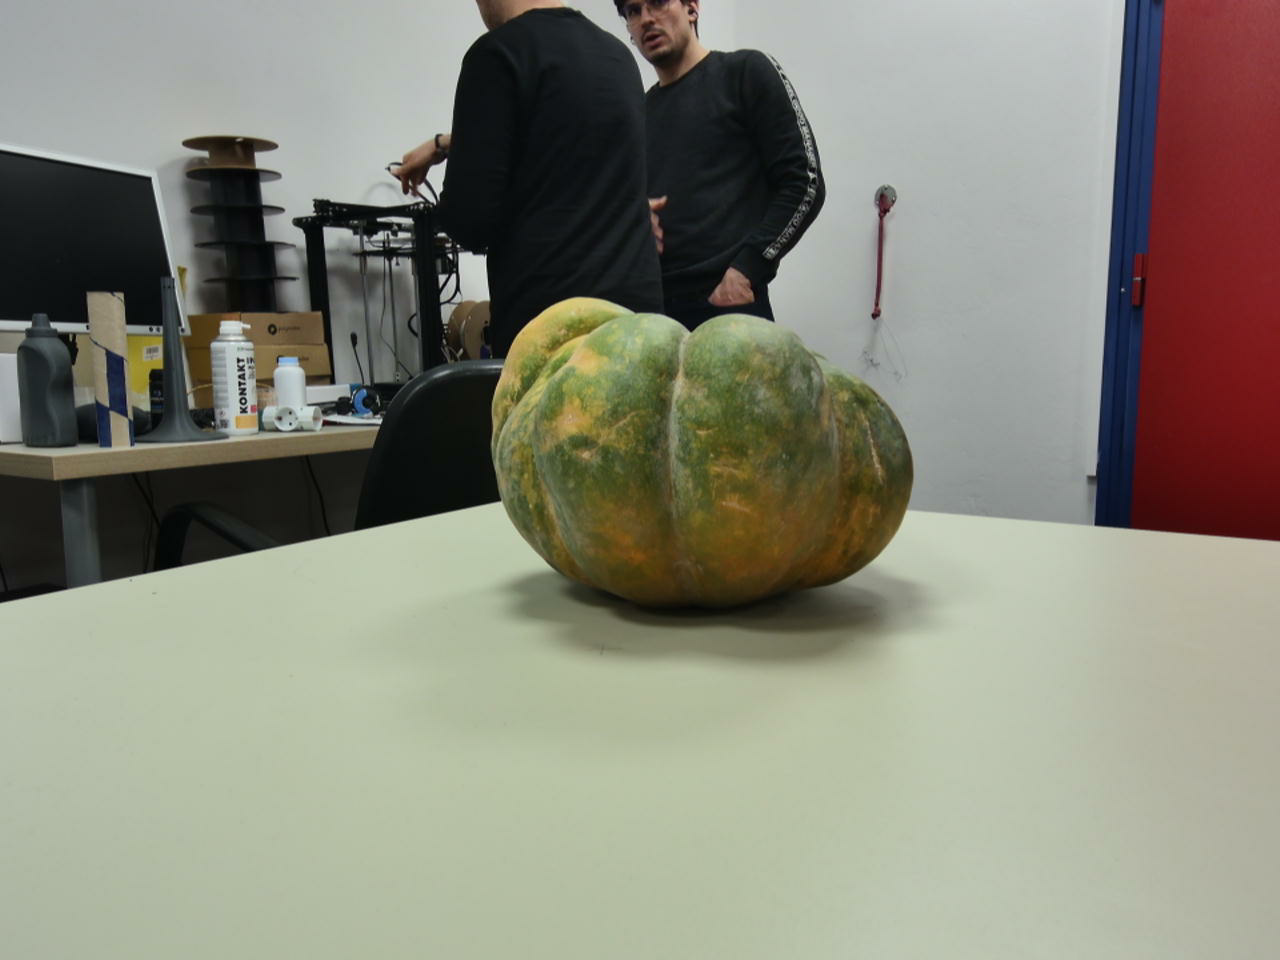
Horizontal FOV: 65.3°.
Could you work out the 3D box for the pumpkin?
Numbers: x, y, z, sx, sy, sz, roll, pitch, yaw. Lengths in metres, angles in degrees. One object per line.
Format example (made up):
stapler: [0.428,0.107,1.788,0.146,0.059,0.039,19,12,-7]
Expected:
pumpkin: [0.034,-0.019,0.590,0.237,0.173,0.270,-1,6,-17]
